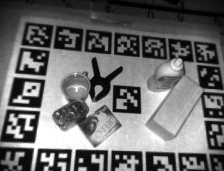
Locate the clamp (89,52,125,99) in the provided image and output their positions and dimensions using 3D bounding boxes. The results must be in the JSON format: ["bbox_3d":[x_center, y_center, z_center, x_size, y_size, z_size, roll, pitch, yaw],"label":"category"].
[{"bbox_3d":[-0.035,-0.029,0.766,0.122,0.036,0.165,22,70,-2],"label":"clamp"}]

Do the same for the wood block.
[{"bbox_3d":[0.220,0.073,0.742,0.089,0.091,0.207,38,67,8],"label":"wood block"}]

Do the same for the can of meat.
[{"bbox_3d":[-0.126,0.092,0.671,0.102,0.083,0.057,-26,77,-17],"label":"can of meat"}]

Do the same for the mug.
[{"bbox_3d":[-0.117,0.002,0.737,0.093,0.081,0.117,25,70,1],"label":"mug"}]

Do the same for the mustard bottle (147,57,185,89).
[{"bbox_3d":[0.188,-0.046,0.721,0.096,0.191,0.058,-2,70,-8],"label":"mustard bottle"}]

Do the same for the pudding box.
[{"bbox_3d":[-0.033,0.128,0.704,0.114,0.038,0.089,-36,80,-21],"label":"pudding box"}]
